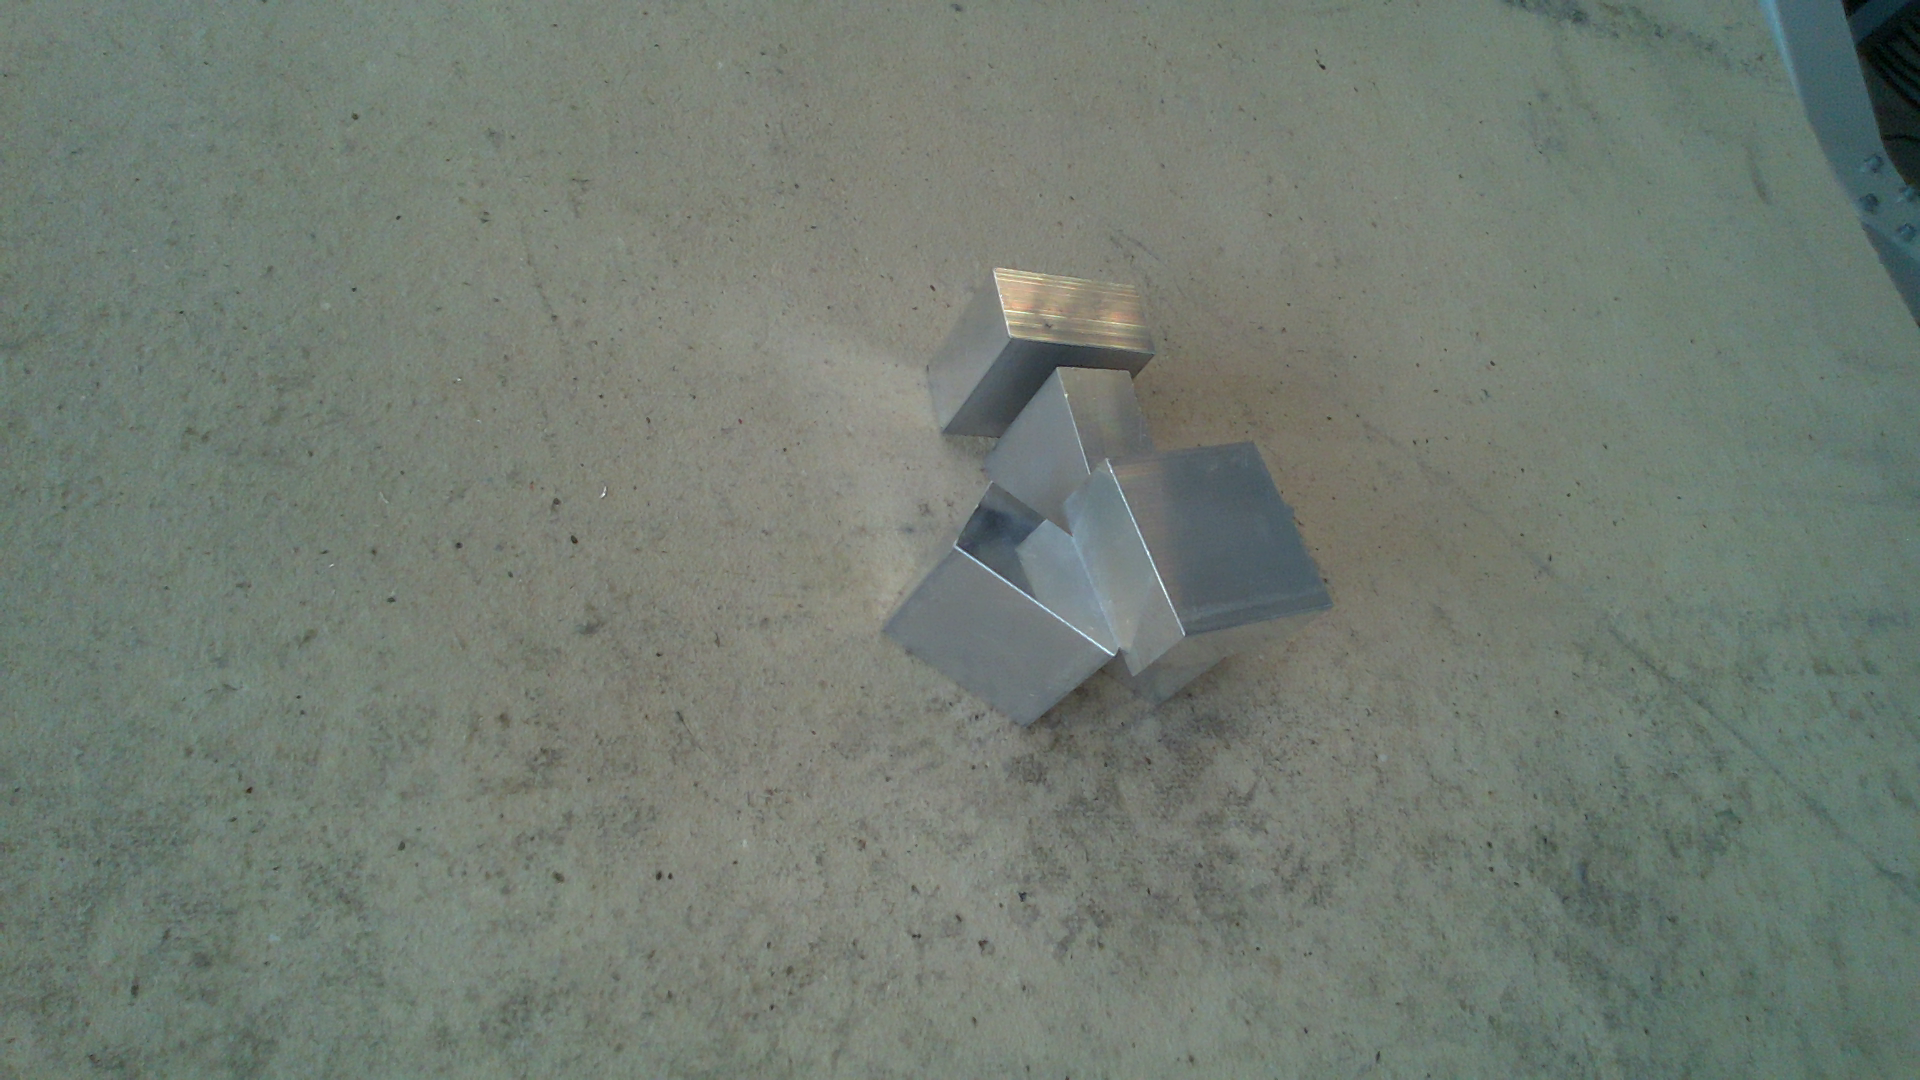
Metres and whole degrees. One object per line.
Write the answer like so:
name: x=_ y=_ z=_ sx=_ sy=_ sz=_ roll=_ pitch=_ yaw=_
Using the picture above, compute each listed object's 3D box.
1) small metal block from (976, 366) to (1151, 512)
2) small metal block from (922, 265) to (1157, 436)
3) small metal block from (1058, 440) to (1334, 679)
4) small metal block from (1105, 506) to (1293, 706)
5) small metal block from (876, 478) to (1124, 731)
small metal block: x=0.032 y=-0.015 z=0.402 sx=0.025 sy=0.050 sz=0.050 roll=0 pitch=61 yaw=-29
small metal block: x=0.023 y=-0.055 z=0.420 sx=0.050 sy=0.050 sz=0.025 roll=2 pitch=60 yaw=-28
small metal block: x=0.061 y=0.004 z=0.357 sx=0.050 sy=0.025 sz=0.050 roll=-8 pitch=65 yaw=-31
small metal block: x=0.067 y=0.013 z=0.403 sx=0.025 sy=0.050 sz=0.050 roll=32 pitch=52 yaw=-7
small metal block: x=0.013 y=0.019 z=0.369 sx=0.050 sy=0.050 sz=0.025 roll=35 pitch=51 yaw=-6
